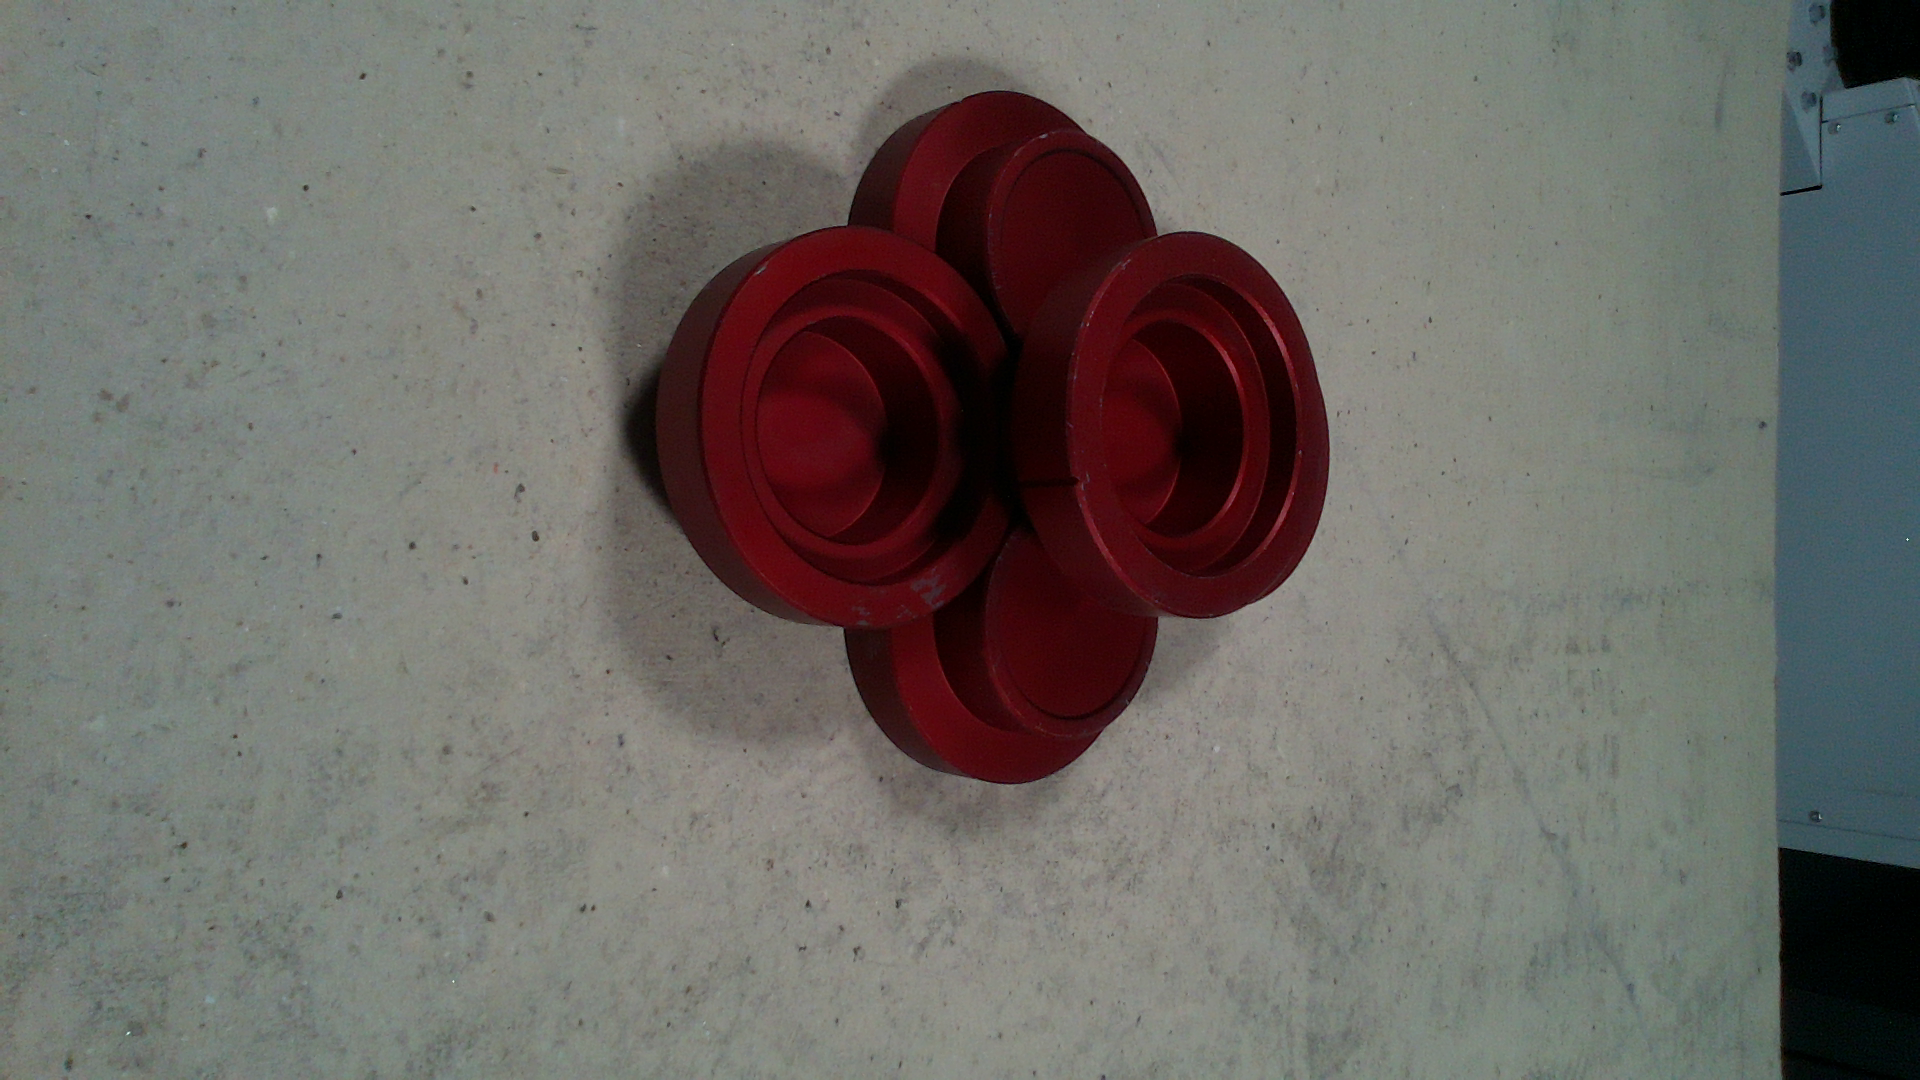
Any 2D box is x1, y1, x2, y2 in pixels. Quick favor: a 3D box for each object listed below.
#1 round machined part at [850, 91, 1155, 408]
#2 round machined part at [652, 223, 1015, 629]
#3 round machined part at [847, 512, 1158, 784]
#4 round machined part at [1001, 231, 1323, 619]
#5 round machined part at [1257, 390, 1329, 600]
[{"bbox_3d":[0.019,-0.079,0.394,0.098,0.042,0.098,0,90,-40],"label":"round machined part"},{"bbox_3d":[-0.034,-0.027,0.350,0.098,0.042,0.098,0,90,-40],"label":"round machined part"},{"bbox_3d":[0.019,0.021,0.393,0.098,0.042,0.098,0,90,-40],"label":"round machined part"},{"bbox_3d":[0.050,-0.029,0.364,0.098,0.042,0.098,0,91,-40],"label":"round machined part"},{"bbox_3d":[0.071,-0.029,0.437,0.098,0.042,0.098,0,90,-40],"label":"round machined part"}]
